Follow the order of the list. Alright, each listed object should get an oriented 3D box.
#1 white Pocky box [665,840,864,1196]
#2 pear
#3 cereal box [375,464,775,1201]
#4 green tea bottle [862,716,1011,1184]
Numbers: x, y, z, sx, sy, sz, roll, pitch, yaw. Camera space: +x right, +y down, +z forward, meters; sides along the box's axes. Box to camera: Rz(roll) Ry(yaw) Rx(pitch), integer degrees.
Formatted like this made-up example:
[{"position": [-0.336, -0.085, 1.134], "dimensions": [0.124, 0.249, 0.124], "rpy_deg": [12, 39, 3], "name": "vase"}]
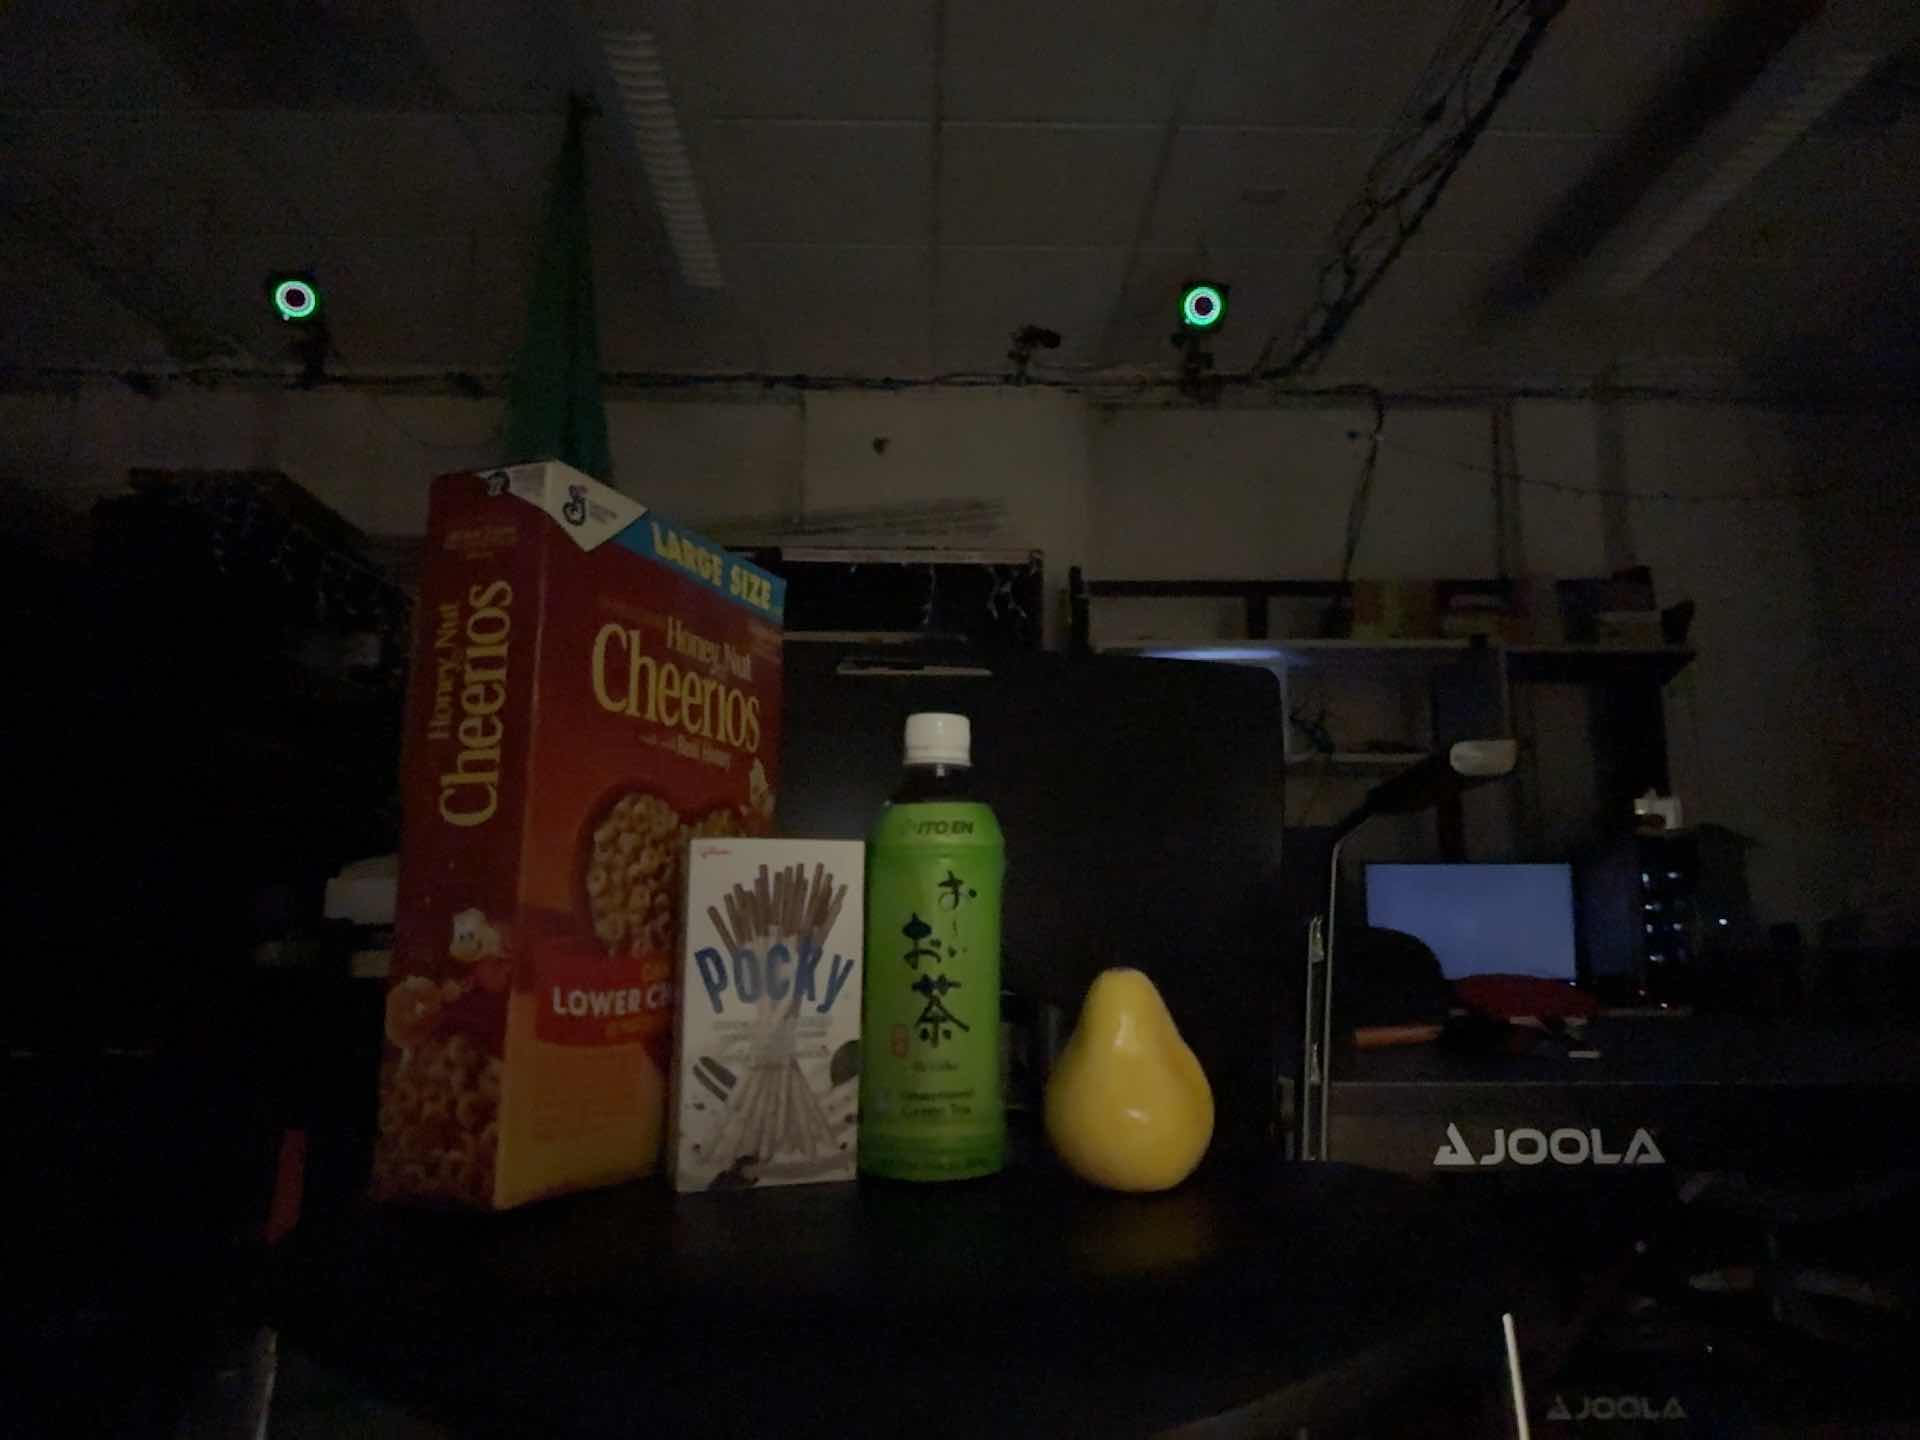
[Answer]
[{"position": [-0.088, 0.132, 0.611], "dimensions": [0.084, 0.154, 0.028], "rpy_deg": [3, -3, -20], "name": "white Pocky box"}, {"position": [0.074, 0.154, 0.612], "dimensions": [0.080, 0.111, 0.080], "rpy_deg": [-2, -12, -1], "name": "pear"}, {"position": [-0.170, 0.054, 0.650], "dimensions": [0.065, 0.297, 0.195], "rpy_deg": [-2, -10, 19], "name": "cereal box"}, {"position": [-0.013, 0.104, 0.637], "dimensions": [0.073, 0.212, 0.073], "rpy_deg": [-3, -7, 0], "name": "green tea bottle"}]
